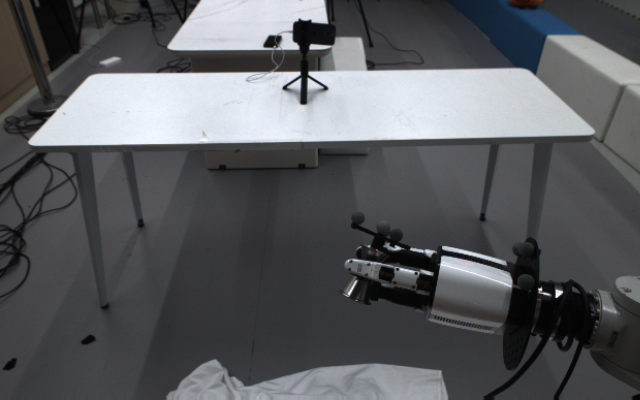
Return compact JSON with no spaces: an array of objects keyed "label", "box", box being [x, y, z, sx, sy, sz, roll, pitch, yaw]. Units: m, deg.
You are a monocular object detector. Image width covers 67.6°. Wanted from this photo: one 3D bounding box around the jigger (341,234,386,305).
[{"label":"jigger","box":[0.056,0.092,0.614,0.043,0.071,0.043,24,-3,1]}]
